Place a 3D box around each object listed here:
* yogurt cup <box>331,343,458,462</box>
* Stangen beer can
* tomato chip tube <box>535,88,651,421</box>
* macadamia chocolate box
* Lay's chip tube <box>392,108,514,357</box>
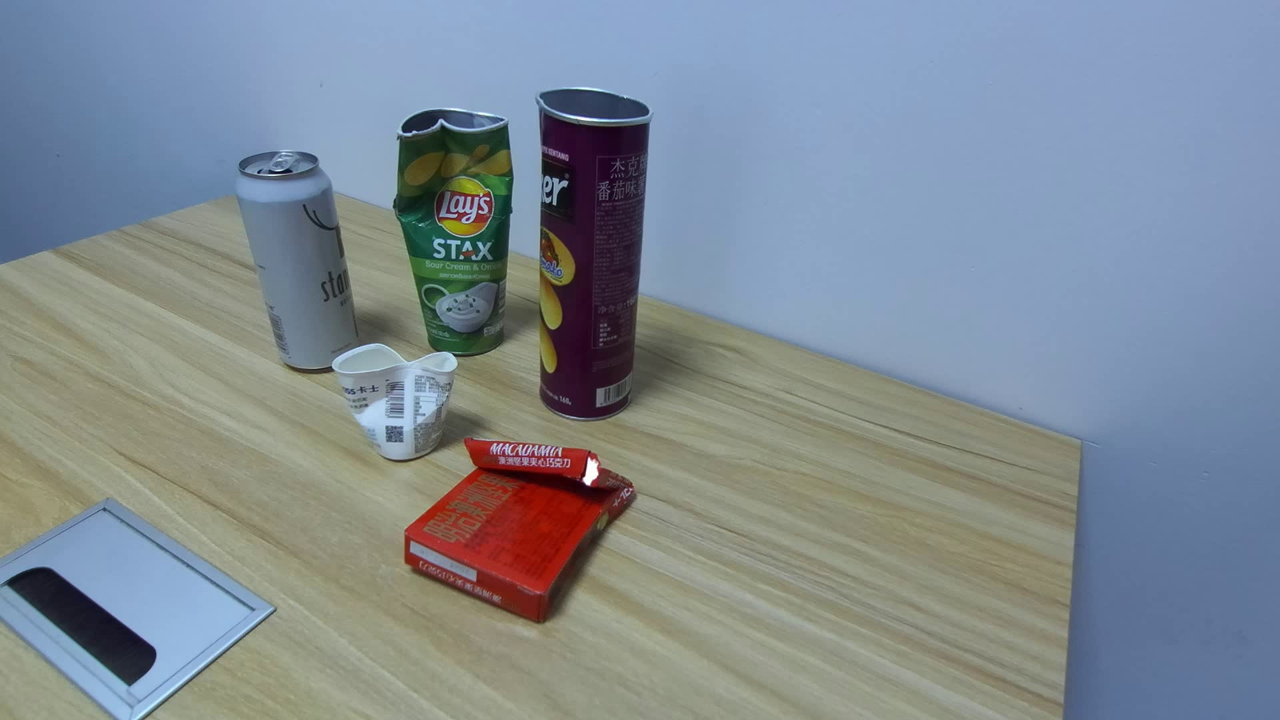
[{"bbox_3d":[-0.172,0.028,0.510,0.076,0.071,0.053,-17,42,-26],"label":"yogurt cup"},{"bbox_3d":[-0.270,-0.075,0.564,0.067,0.171,0.067,3,33,-2],"label":"Stangen beer can"},{"bbox_3d":[-0.037,-0.070,0.518,0.077,0.234,0.080,0,35,-6],"label":"tomato chip tube"},{"bbox_3d":[-0.081,0.096,0.456,0.111,0.056,0.126,3,34,26],"label":"macadamia chocolate box"},{"bbox_3d":[-0.153,-0.103,0.593,0.077,0.201,0.069,-28,45,-35],"label":"Lay's chip tube"}]
